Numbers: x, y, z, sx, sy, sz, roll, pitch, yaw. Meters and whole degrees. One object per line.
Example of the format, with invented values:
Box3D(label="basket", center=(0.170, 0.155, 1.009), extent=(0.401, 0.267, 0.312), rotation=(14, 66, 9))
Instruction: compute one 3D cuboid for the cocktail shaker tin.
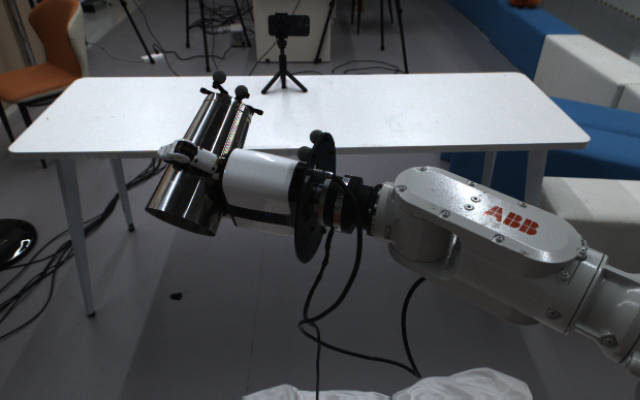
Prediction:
Box3D(label="cocktail shaker tin", center=(-0.148, -0.047, 0.625), extent=(0.093, 0.093, 0.170), rotation=(14, 73, 16))
